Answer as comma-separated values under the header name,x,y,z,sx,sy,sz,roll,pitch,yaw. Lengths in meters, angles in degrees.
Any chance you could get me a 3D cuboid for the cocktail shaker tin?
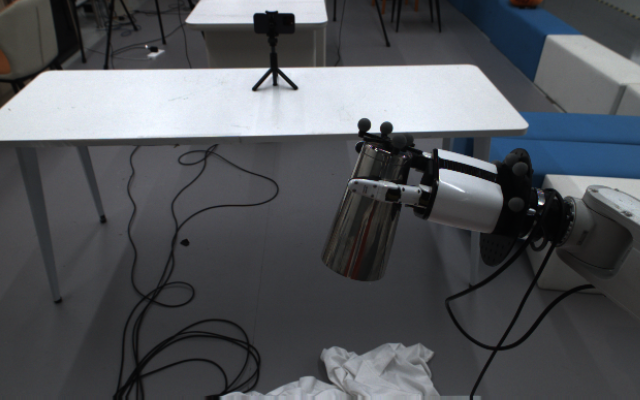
name,x,y,z,sx,sy,sz,roll,pitch,yaw
cocktail shaker tin,0.068,0.008,0.649,0.093,0.170,0.093,14,18,-5
